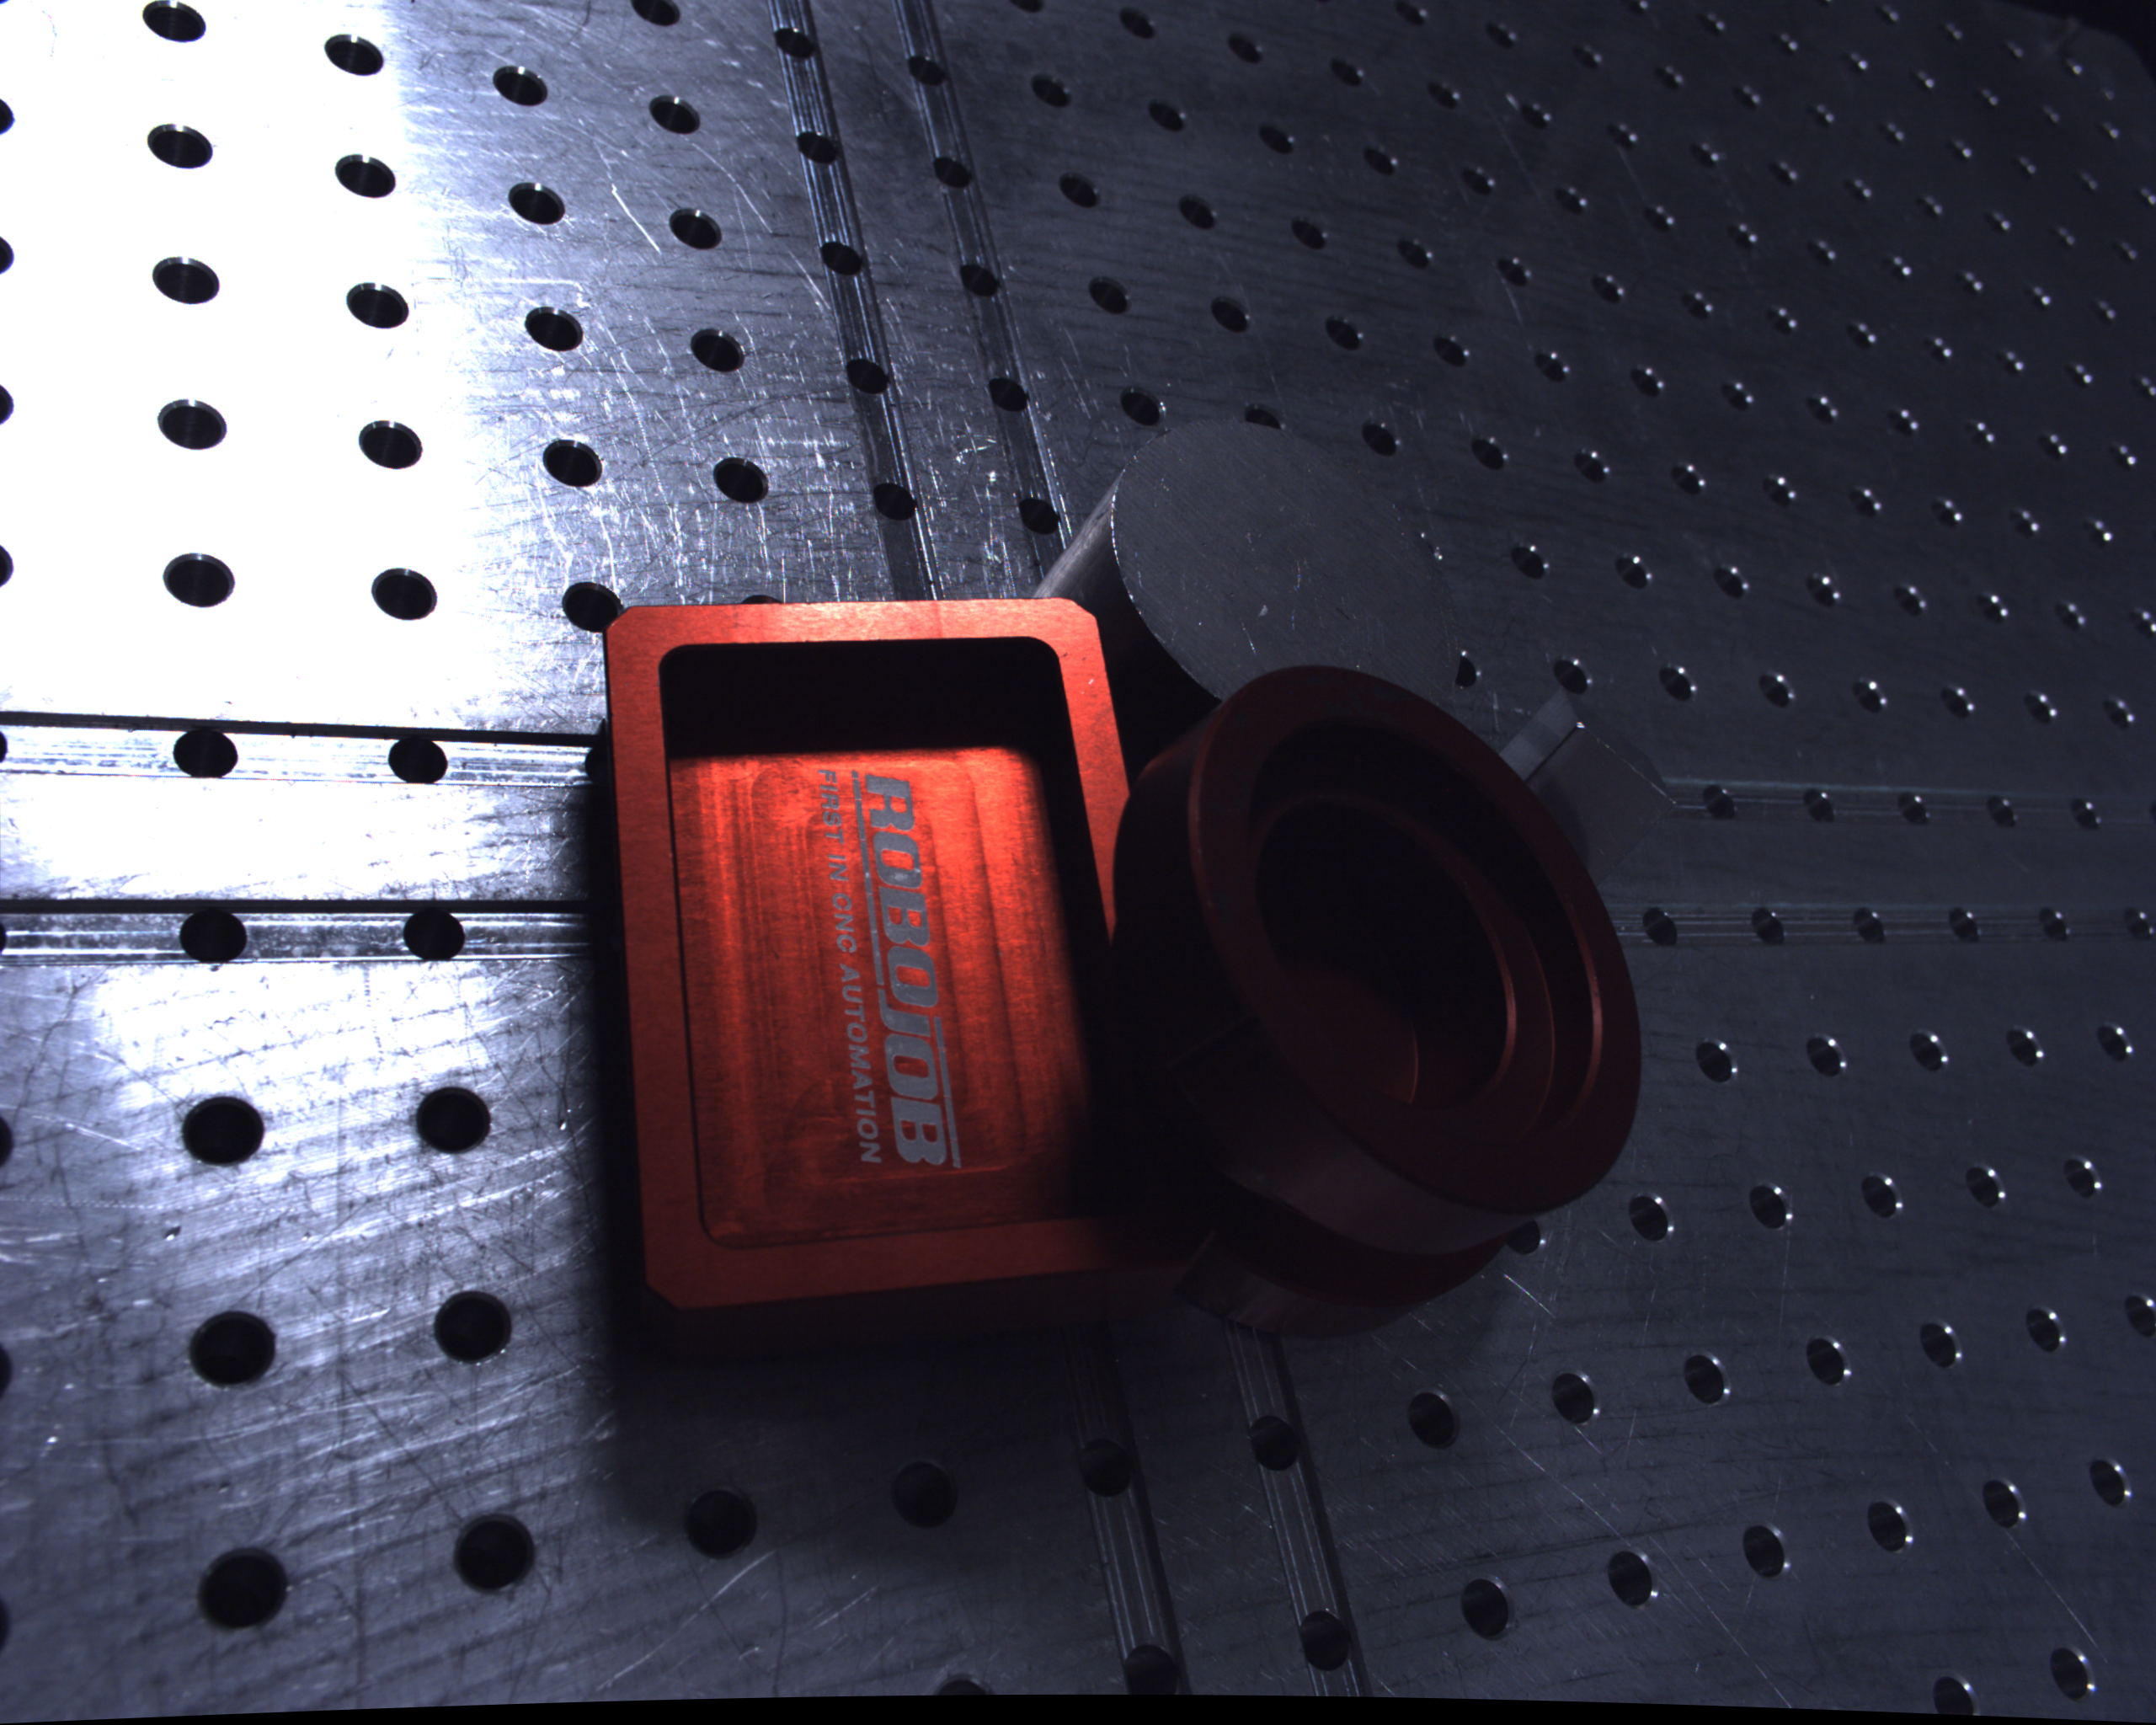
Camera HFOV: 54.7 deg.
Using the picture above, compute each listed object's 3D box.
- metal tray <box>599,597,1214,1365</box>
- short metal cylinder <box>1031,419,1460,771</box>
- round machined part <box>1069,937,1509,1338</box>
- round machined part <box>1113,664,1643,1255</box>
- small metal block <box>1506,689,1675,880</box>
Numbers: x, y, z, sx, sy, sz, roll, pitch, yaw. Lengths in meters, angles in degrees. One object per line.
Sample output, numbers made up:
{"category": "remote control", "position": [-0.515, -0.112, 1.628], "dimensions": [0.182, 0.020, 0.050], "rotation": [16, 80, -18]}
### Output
{"category": "metal tray", "position": [-0.034, 0.016, 0.364], "dimensions": [0.091, 0.030, 0.130], "rotation": [-3, 62, -14]}
{"category": "short metal cylinder", "position": [0.032, -0.046, 0.439], "dimensions": [0.081, 0.050, 0.080], "rotation": [14, 56, -21]}
{"category": "round machined part", "position": [0.048, 0.038, 0.401], "dimensions": [0.099, 0.042, 0.098], "rotation": [14, 56, -21]}
{"category": "round machined part", "position": [0.045, 0.019, 0.350], "dimensions": [0.099, 0.042, 0.098], "rotation": [21, 52, -29]}
{"category": "small metal block", "position": [0.095, -0.007, 0.437], "dimensions": [0.025, 0.050, 0.050], "rotation": [40, 16, -2]}
